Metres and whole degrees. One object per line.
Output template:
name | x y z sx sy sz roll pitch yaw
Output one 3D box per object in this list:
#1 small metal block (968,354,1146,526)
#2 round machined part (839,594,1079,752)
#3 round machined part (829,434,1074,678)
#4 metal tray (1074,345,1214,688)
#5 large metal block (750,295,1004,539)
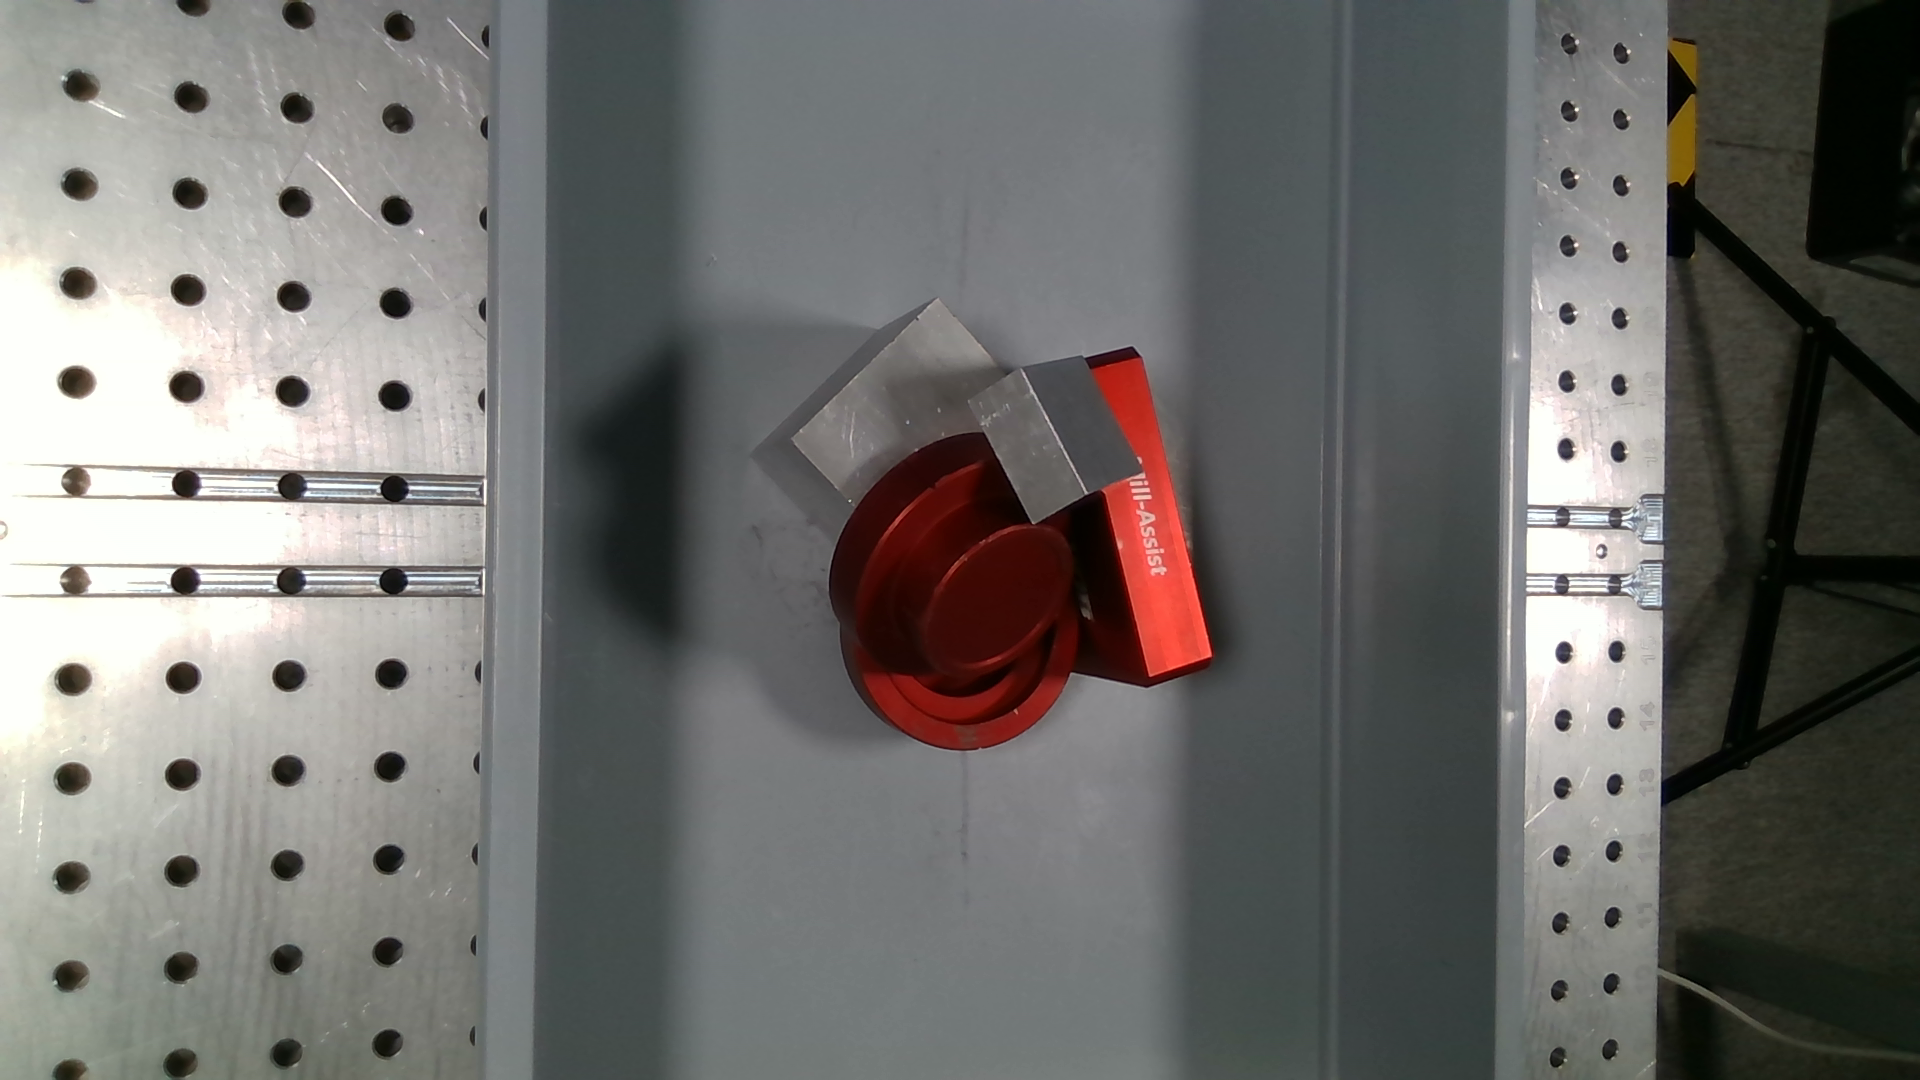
small metal block | 0.036 -0.037 0.500 0.050 0.025 0.050 -22 84 -57
round machined part | -0.003 0.037 0.576 0.098 0.042 0.098 0 90 -20
round machined part | 0.004 0.013 0.515 0.098 0.042 0.098 -24 136 -25
metal tray | 0.057 -0.009 0.570 0.030 0.090 0.130 -16 96 -19
large metal block | -0.031 -0.045 0.544 0.080 0.080 0.050 -46 104 -14
